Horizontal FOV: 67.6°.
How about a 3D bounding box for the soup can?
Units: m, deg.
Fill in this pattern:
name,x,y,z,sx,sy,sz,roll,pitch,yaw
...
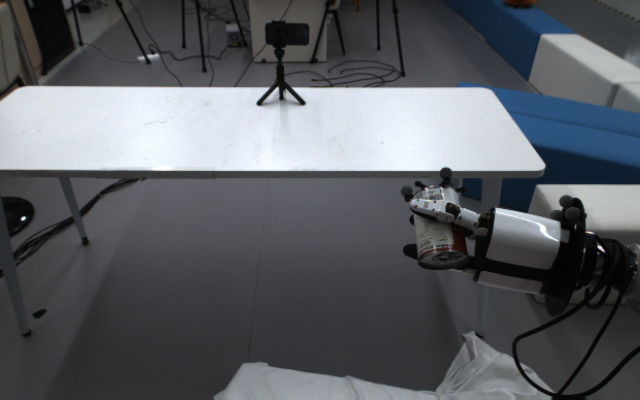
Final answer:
name,x,y,z,sx,sy,sz,roll,pitch,yaw
soup can,0.168,0.039,0.679,0.067,0.067,0.101,1,62,-2
